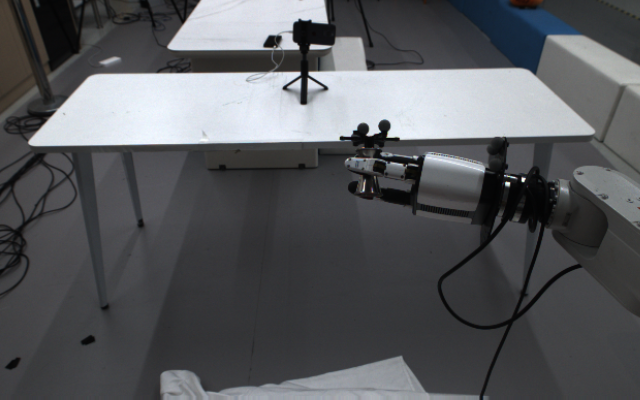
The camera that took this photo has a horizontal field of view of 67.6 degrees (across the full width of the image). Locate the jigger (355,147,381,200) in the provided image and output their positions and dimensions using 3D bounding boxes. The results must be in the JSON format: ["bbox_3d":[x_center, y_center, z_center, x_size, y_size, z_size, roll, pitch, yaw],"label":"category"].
[{"bbox_3d":[0.071,-0.042,0.721,0.043,0.071,0.043,2,-6,0],"label":"jigger"}]
